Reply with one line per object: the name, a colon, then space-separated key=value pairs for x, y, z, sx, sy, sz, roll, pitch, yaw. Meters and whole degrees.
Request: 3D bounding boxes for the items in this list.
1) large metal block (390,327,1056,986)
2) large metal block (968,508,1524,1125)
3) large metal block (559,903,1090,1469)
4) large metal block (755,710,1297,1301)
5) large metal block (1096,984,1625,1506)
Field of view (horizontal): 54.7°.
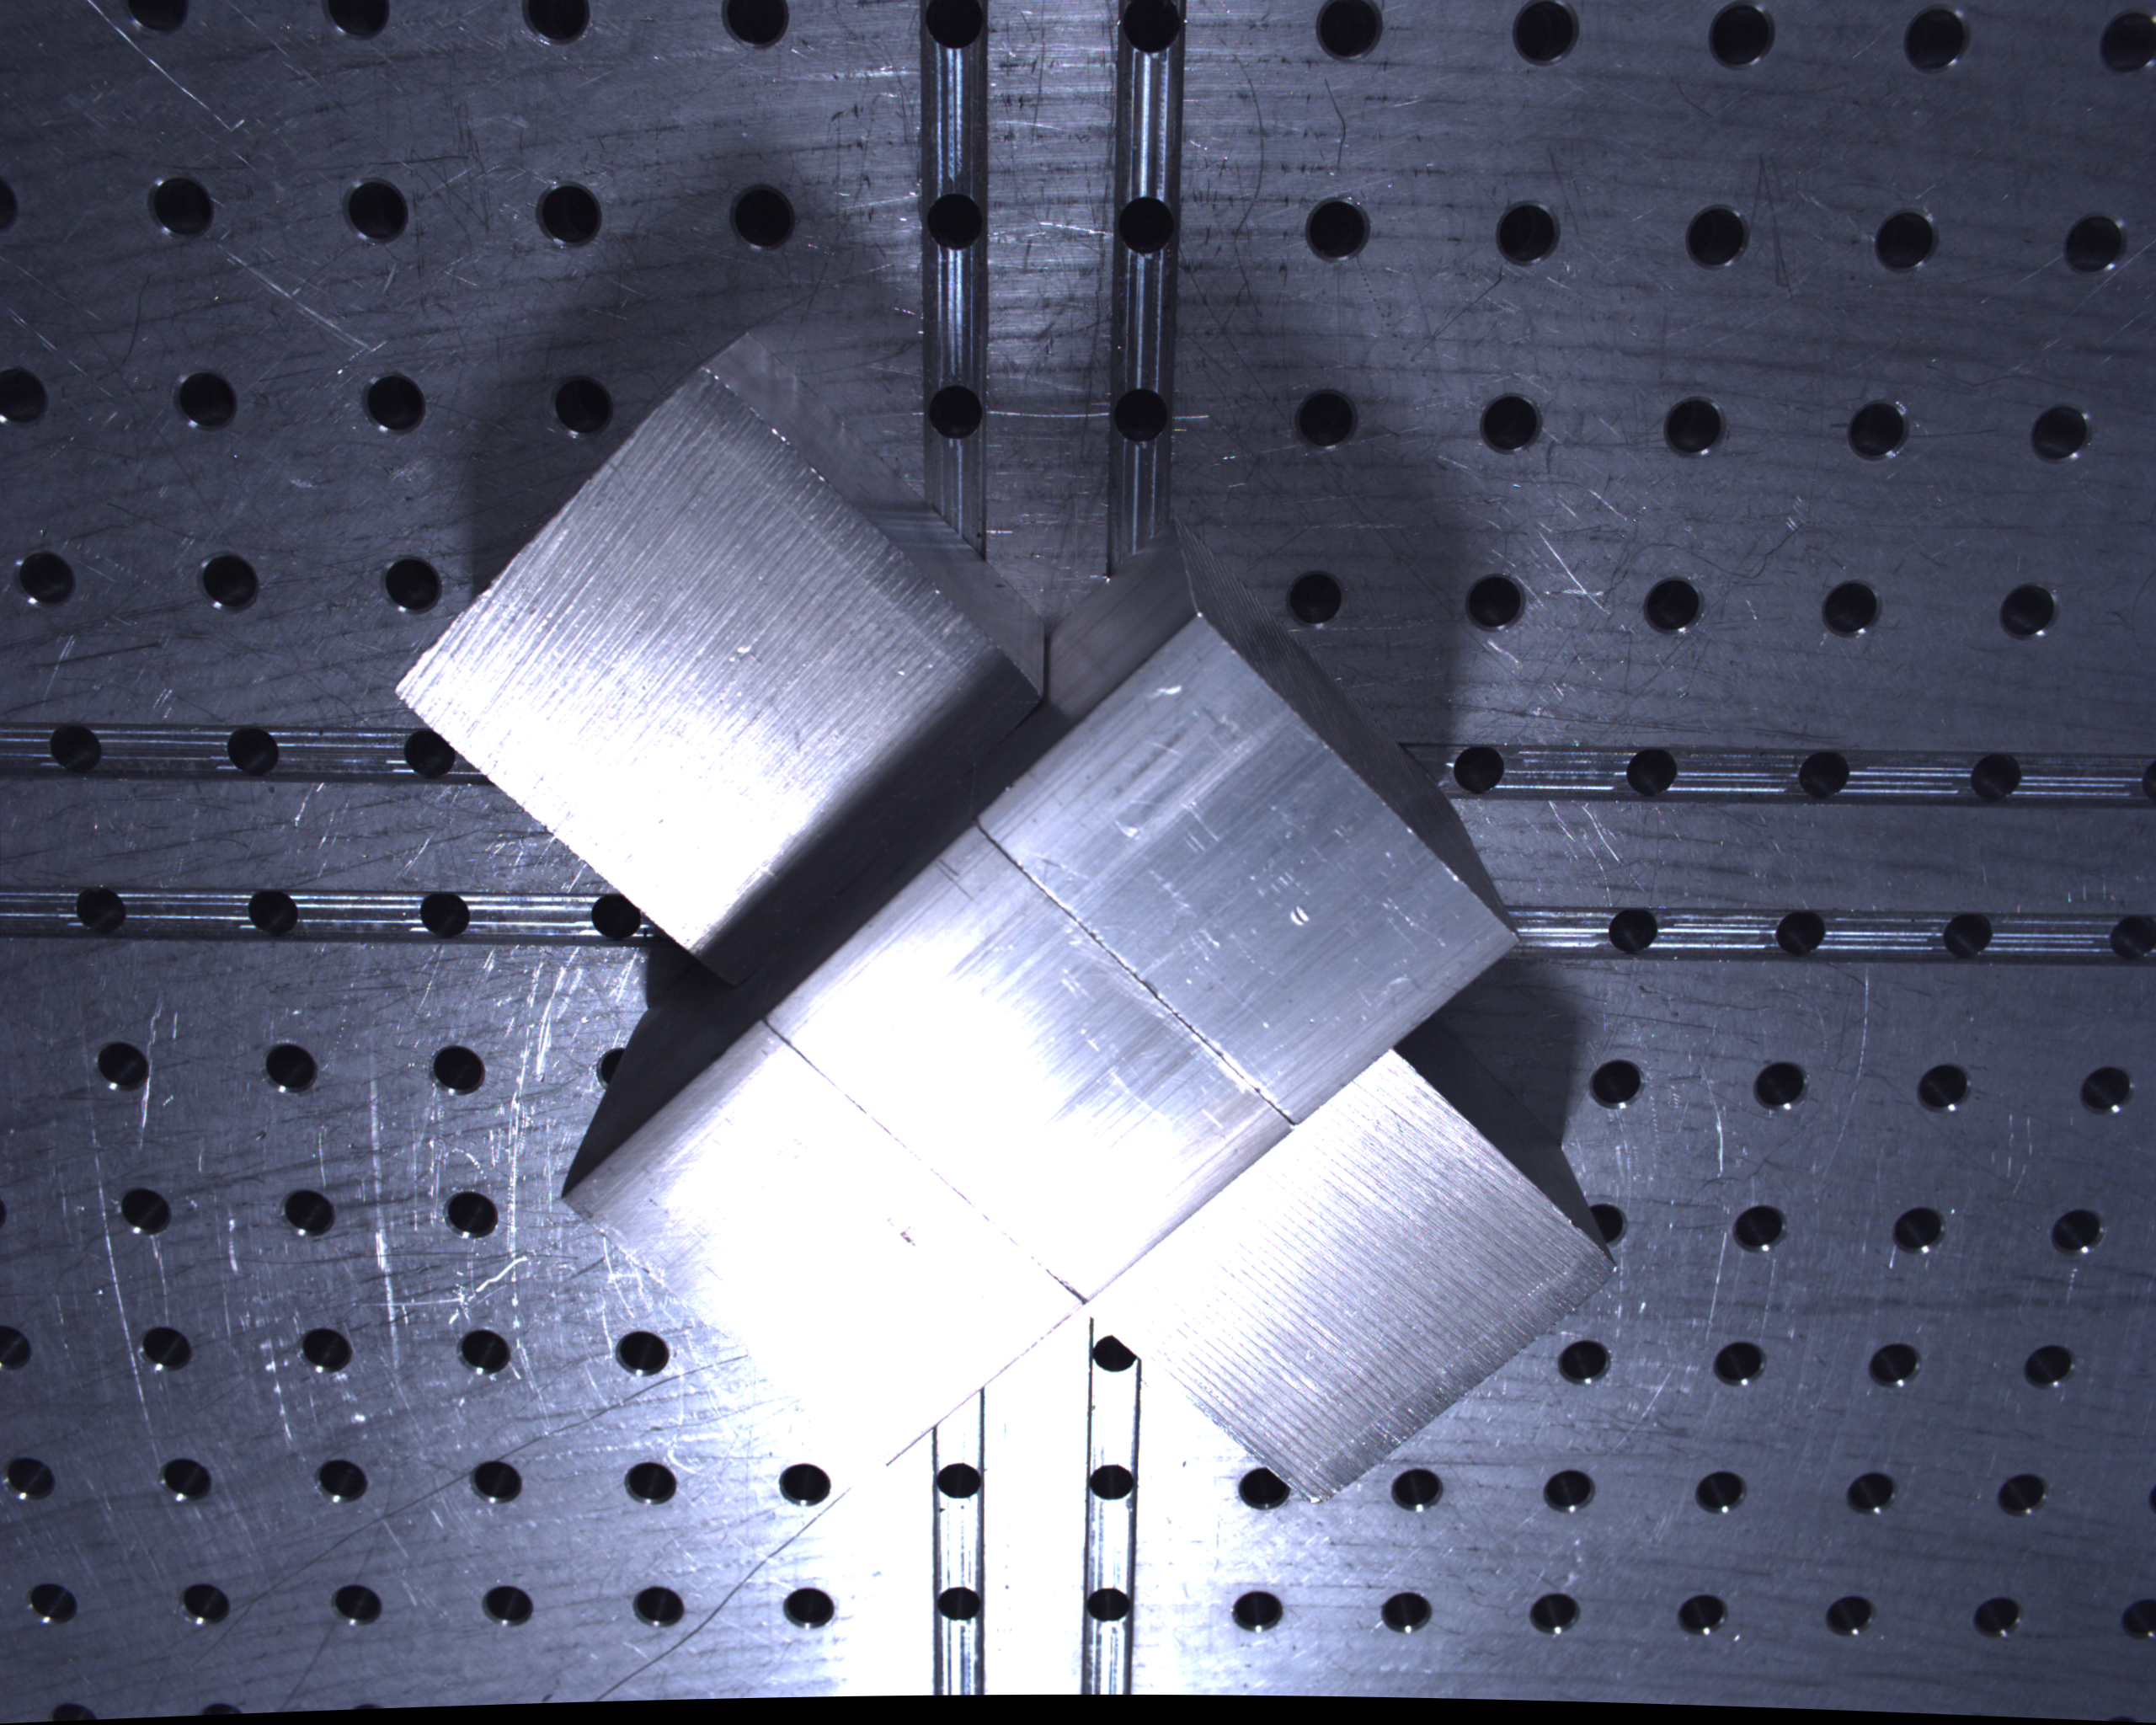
large metal block: x=-0.061 y=-0.038 z=0.382 sx=0.080 sy=0.050 sz=0.080 roll=-43 pitch=105 yaw=15
large metal block: x=0.028 y=-0.012 z=0.381 sx=0.050 sy=0.080 sz=0.080 roll=-42 pitch=105 yaw=14
large metal block: x=-0.044 y=0.054 z=0.404 sx=0.050 sy=0.080 sz=0.080 roll=-42 pitch=105 yaw=14
large metal block: x=-0.008 y=0.021 z=0.392 sx=0.050 sy=0.080 sz=0.080 roll=-42 pitch=105 yaw=14
large metal block: x=0.049 y=0.069 z=0.426 sx=0.080 sy=0.050 sz=0.080 roll=-42 pitch=105 yaw=14
